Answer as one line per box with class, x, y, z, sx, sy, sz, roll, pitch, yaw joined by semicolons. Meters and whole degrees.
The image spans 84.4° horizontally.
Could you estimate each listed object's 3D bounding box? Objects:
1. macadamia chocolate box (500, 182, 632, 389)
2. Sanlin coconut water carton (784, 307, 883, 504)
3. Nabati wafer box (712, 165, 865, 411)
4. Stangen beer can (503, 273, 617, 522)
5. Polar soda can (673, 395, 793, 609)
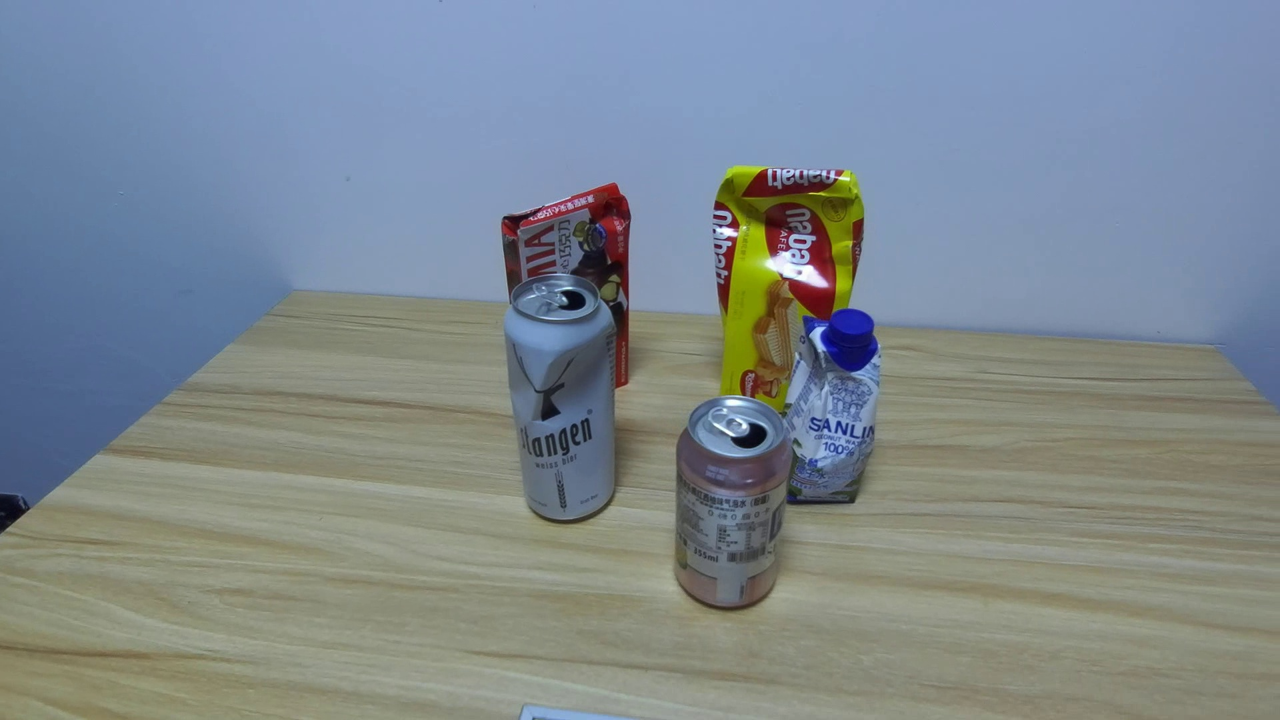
macadamia chocolate box;-0.053;-0.045;0.574;0.103;0.187;0.027;-20;42;-25
Sanlin coconut water carton;0.137;0.028;0.499;0.057;0.144;0.068;3;25;-6
Nabati wafer box;0.112;-0.050;0.560;0.113;0.205;0.042;3;32;7
Stangen beer can;-0.051;0.030;0.476;0.070;0.173;0.069;1;33;4
Polar soda can;0.055;0.087;0.427;0.067;0.126;0.067;-1;33;1
